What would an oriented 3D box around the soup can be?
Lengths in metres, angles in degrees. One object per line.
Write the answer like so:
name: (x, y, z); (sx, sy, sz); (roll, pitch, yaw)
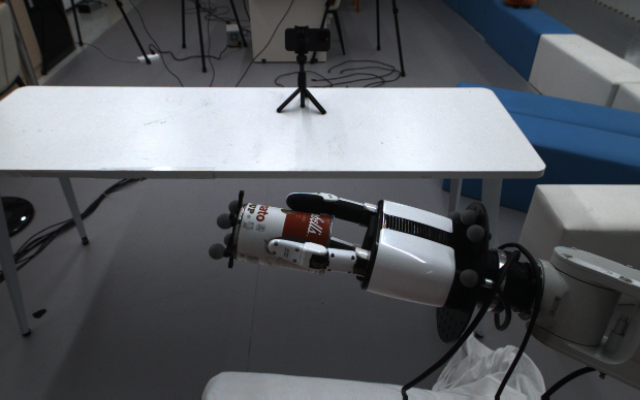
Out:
soup can: (-0.037, 0.044, 0.545); (0.101, 0.067, 0.067); (10, 35, 0)
